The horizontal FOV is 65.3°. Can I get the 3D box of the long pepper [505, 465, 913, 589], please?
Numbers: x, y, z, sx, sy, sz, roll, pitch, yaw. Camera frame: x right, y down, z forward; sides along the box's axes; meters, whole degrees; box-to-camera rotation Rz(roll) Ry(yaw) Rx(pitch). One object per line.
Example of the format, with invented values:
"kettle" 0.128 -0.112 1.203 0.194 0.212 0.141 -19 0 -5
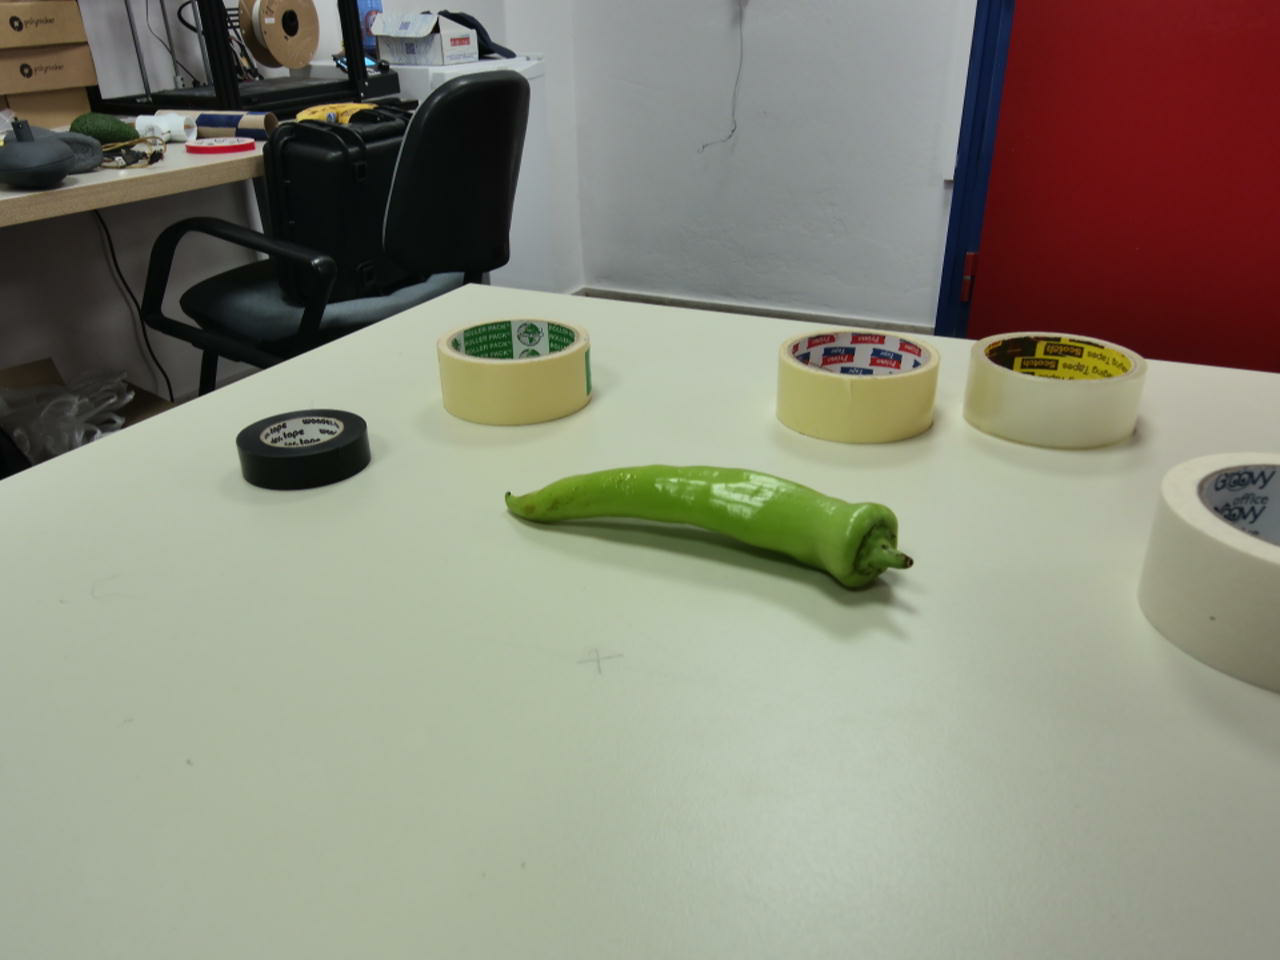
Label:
"long pepper" 0.027 0.012 0.444 0.197 0.038 0.046 12 26 26
